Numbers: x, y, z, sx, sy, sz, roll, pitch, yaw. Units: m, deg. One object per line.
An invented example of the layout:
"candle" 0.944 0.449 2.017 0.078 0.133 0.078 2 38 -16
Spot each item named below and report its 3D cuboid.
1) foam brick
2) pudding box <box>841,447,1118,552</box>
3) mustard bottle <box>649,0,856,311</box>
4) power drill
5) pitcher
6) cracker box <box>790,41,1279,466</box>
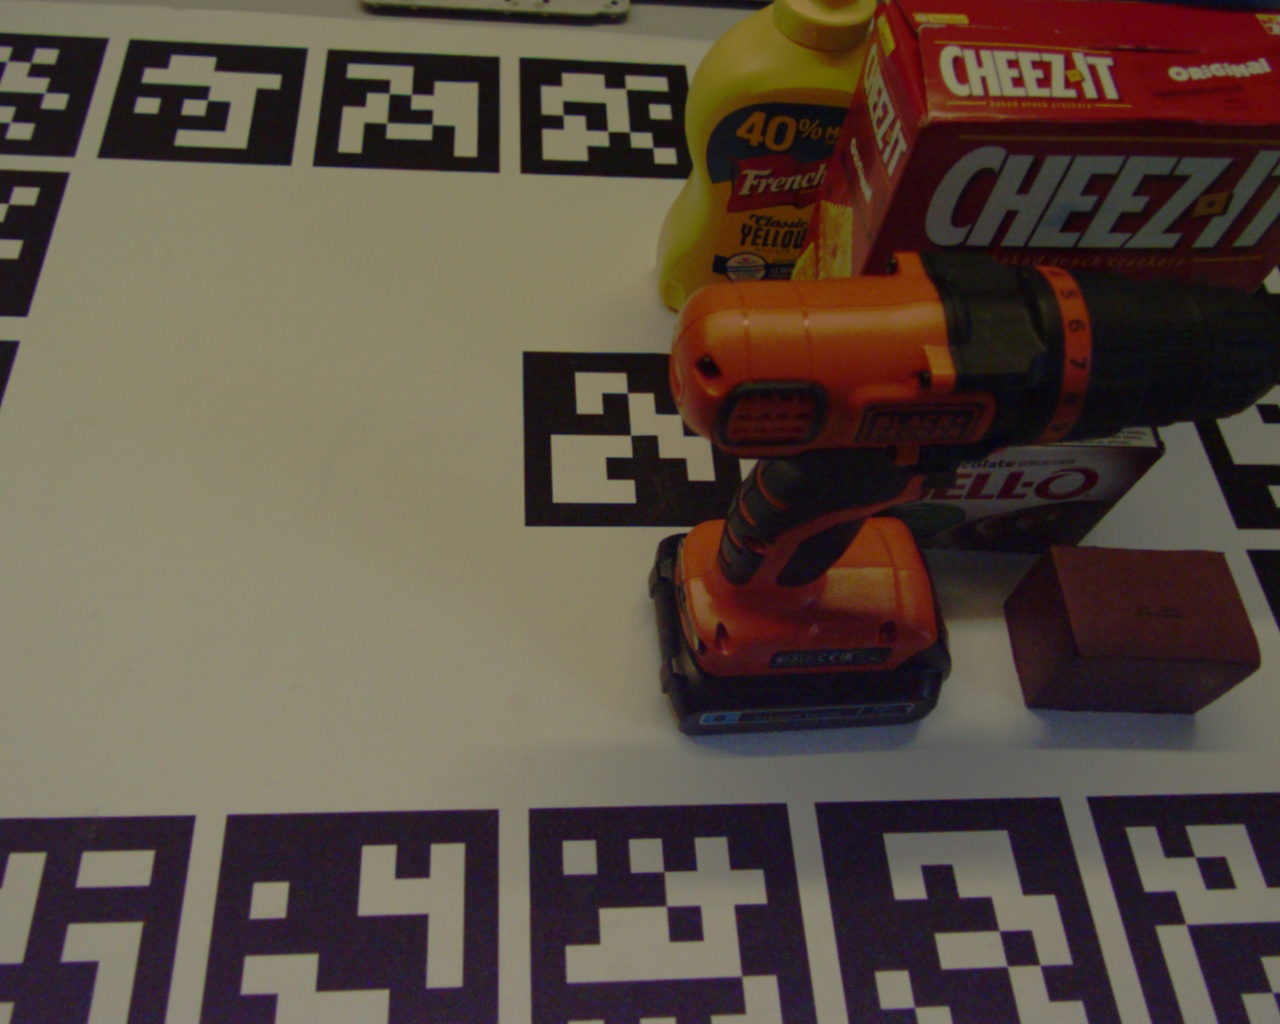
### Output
"foam brick" 0.200 0.052 0.513 0.078 0.051 0.053 2 60 -5
"pudding box" 0.143 -0.020 0.513 0.113 0.090 0.039 0 58 -3
"mustard bottle" 0.062 -0.175 0.543 0.096 0.191 0.058 12 59 0
"power drill" 0.093 -0.004 0.416 0.184 0.187 0.057 0 56 -8
"pitcher" 0.195 -0.180 0.546 0.189 0.242 0.133 5 59 -1
"cracker box" 0.154 -0.090 0.493 0.164 0.213 0.072 -2 57 -5
